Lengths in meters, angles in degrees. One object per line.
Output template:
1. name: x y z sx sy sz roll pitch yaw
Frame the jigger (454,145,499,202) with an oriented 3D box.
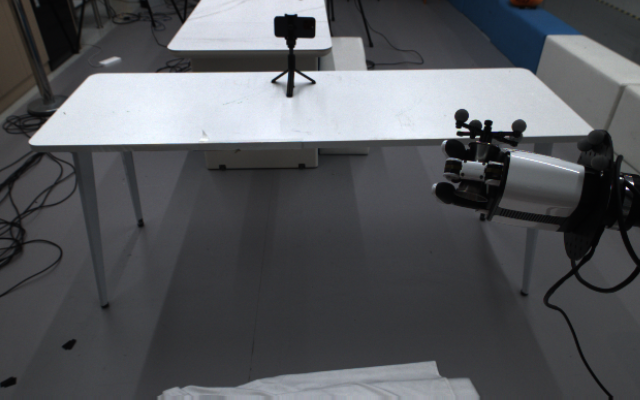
1. jigger: 0.203 -0.036 0.619 0.043 0.071 0.043 16 -7 2
